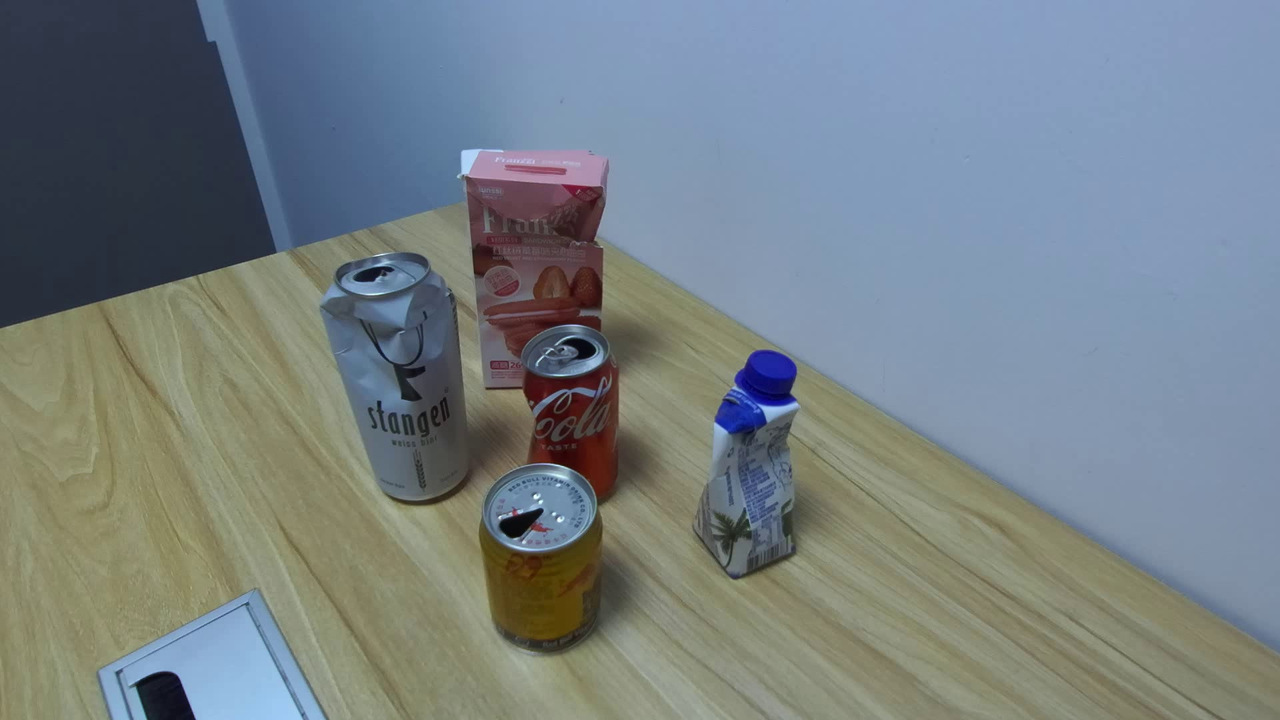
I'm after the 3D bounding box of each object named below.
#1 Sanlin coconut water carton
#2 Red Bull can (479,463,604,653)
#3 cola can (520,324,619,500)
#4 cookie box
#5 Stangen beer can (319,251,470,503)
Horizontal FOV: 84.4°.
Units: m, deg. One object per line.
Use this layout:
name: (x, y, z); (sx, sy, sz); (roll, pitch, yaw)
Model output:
Sanlin coconut water carton: (0.060, 0.062, 0.428); (0.068, 0.145, 0.056); (-24, 37, -20)
Red Bull can: (-0.054, 0.111, 0.394); (0.067, 0.093, 0.067); (3, 38, -2)
cola can: (-0.045, 0.037, 0.472); (0.065, 0.117, 0.072); (8, 40, 5)
cookie box: (-0.079, -0.064, 0.545); (0.105, 0.186, 0.059); (1, 39, -5)
Stangen beer can: (-0.151, 0.014, 0.456); (0.066, 0.166, 0.066); (14, 38, 14)
